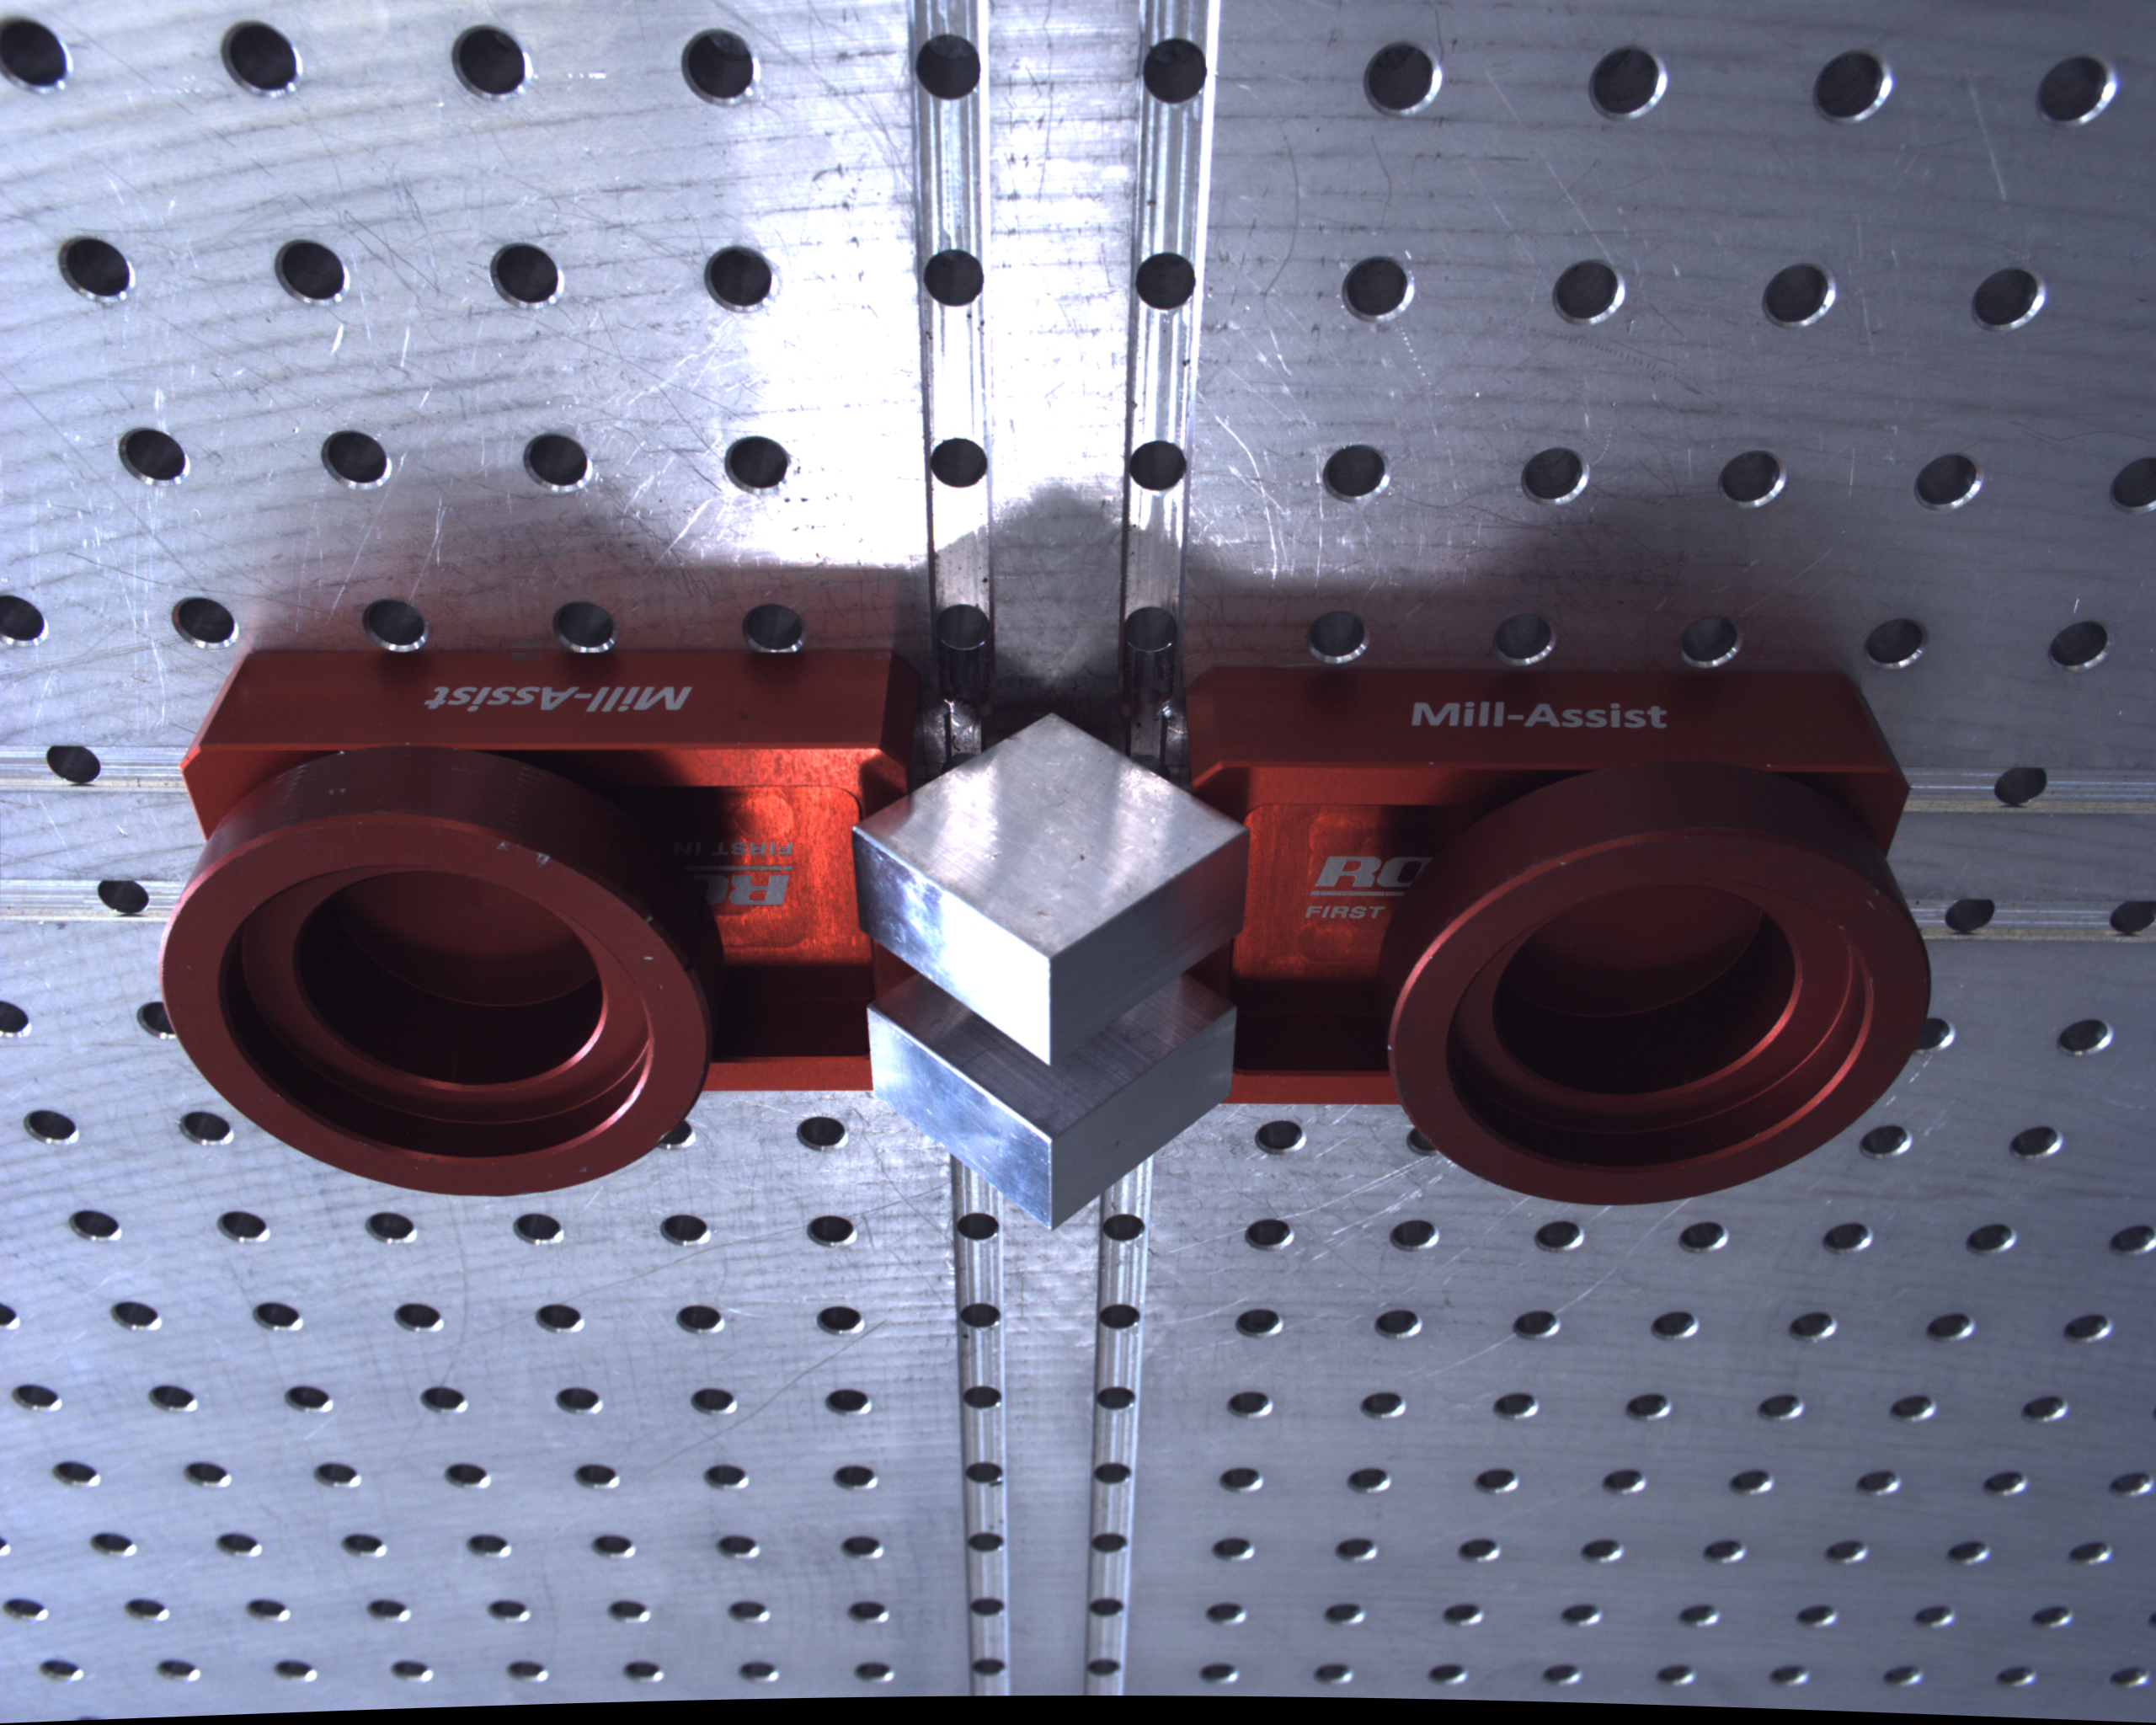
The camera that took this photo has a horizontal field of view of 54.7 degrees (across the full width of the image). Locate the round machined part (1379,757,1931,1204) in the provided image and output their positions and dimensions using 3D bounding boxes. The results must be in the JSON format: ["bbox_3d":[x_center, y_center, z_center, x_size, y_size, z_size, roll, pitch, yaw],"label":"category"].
[{"bbox_3d":[0.107,0.018,0.400,0.099,0.042,0.097,0,130,0],"label":"round machined part"}]

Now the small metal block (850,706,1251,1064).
[{"bbox_3d":[-0.005,0.002,0.378,0.050,0.050,0.025,33,139,32],"label":"small metal block"}]

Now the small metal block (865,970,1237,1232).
[{"bbox_3d":[-0.005,0.036,0.407,0.050,0.050,0.025,33,139,32],"label":"small metal block"}]

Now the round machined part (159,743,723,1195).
[{"bbox_3d":[-0.117,0.016,0.396,0.099,0.042,0.097,0,130,0],"label":"round machined part"}]

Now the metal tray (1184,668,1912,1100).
[{"bbox_3d":[0.086,0.006,0.415,0.131,0.030,0.089,0,131,-1],"label":"metal tray"}]

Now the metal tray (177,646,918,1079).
[{"bbox_3d":[-0.095,0.002,0.411,0.131,0.030,0.089,-1,132,0],"label":"metal tray"}]
